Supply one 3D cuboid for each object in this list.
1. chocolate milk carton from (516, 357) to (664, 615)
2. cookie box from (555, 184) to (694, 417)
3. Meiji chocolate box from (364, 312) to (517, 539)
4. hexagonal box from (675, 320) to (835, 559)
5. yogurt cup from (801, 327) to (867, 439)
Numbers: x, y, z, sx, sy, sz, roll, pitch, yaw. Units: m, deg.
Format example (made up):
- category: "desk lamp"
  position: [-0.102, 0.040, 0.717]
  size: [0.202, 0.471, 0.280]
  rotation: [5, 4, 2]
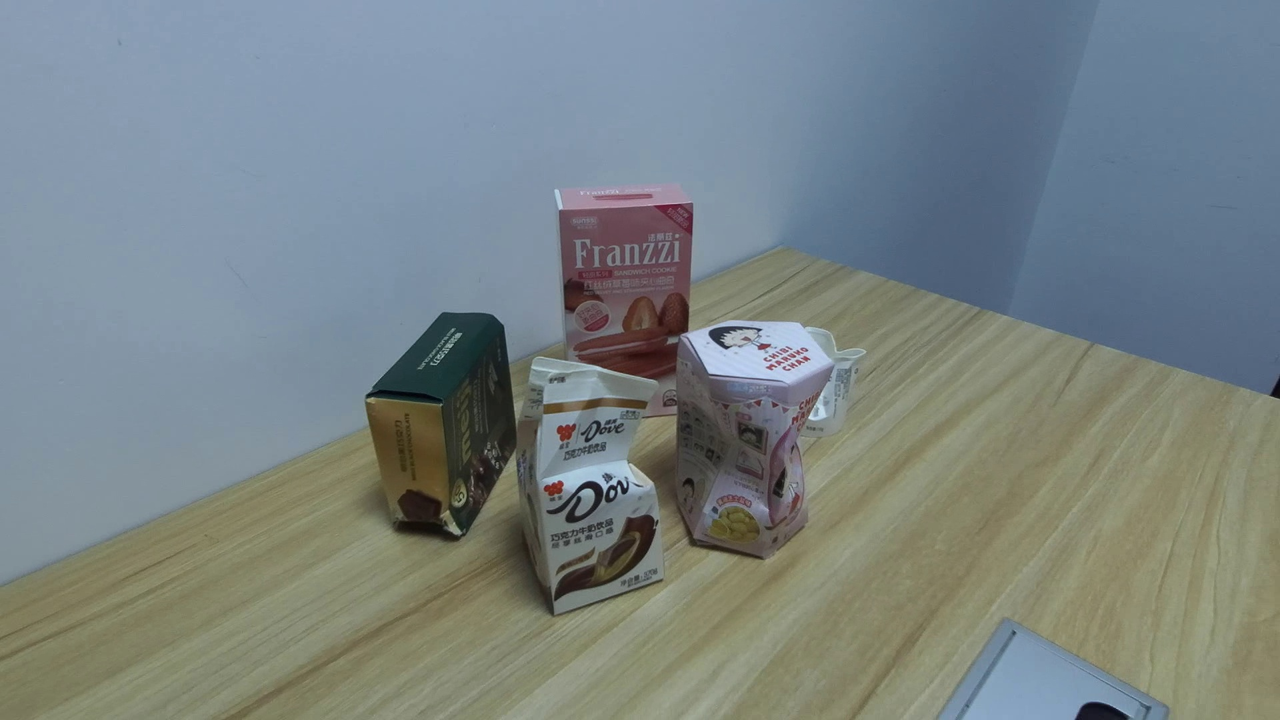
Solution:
- category: "chocolate milk carton"
  position: [-0.030, 0.061, 0.409]
  size: [0.076, 0.156, 0.073]
  rotation: [-11, 35, -19]
- category: "cookie box"
  position: [-0.011, -0.040, 0.552]
  size: [0.096, 0.185, 0.048]
  rotation: [-4, 31, -7]
- category: "Meiji chocolate box"
  position: [-0.131, 0.041, 0.488]
  size: [0.058, 0.116, 0.122]
  rotation: [7, 31, 11]
- category: "hexagonal box"
  position: [0.067, 0.051, 0.446]
  size: [0.093, 0.135, 0.089]
  rotation: [6, 31, 9]
- category: "yogurt cup"
  position: [0.142, 0.018, 0.564]
  size: [0.055, 0.072, 0.054]
  rotation: [-20, 36, -34]
